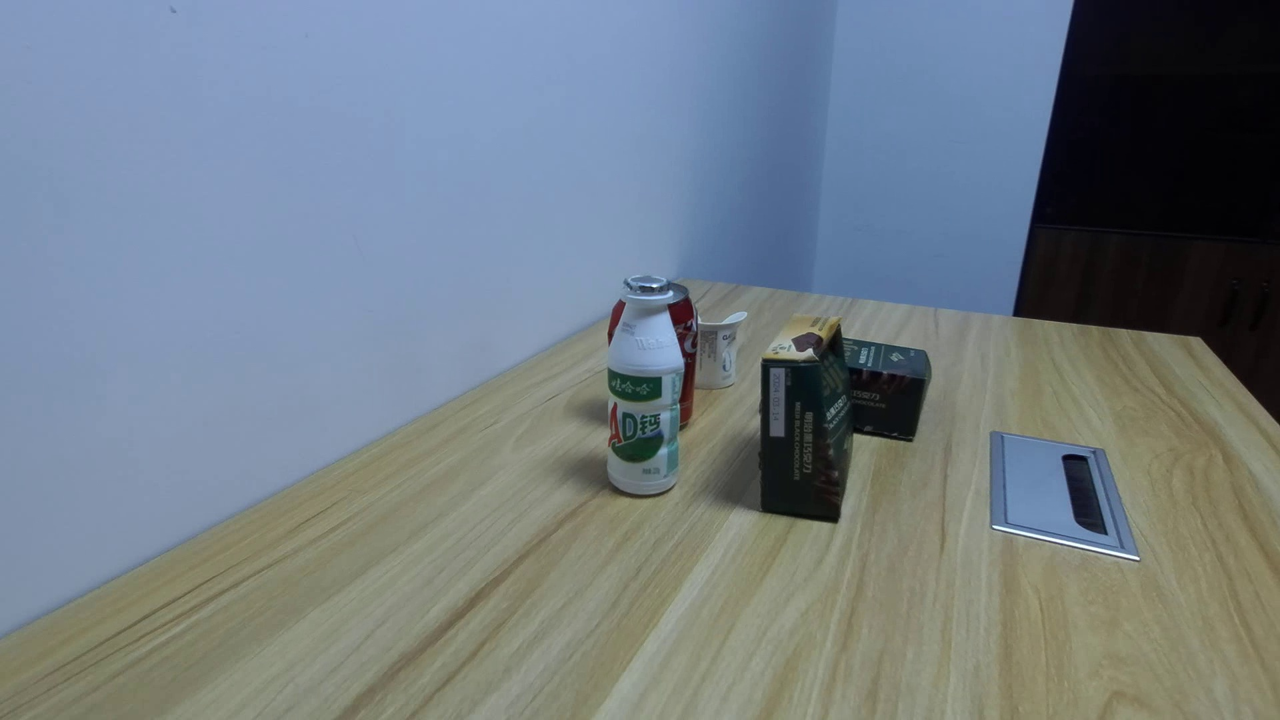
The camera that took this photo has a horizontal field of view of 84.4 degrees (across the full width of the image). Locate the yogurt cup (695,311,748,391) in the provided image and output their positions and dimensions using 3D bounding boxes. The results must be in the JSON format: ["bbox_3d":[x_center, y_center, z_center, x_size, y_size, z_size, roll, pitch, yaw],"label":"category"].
[{"bbox_3d":[0.066,-0.009,0.668,0.067,0.070,0.067,2,20,0],"label":"yogurt cup"}]

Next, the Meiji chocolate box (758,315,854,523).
[{"bbox_3d":[0.117,0.034,0.492,0.051,0.117,0.117,0,17,21],"label":"Meiji chocolate box"}]

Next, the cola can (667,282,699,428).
[{"bbox_3d":[0.014,-0.004,0.586,0.072,0.117,0.065,6,20,13],"label":"cola can"}]

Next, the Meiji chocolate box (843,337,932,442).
[{"bbox_3d":[0.192,0.019,0.623,0.122,0.058,0.116,9,18,18],"label":"Meiji chocolate box"}]

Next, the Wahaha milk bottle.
[{"bbox_3d":[0.004,0.017,0.479,0.056,0.147,0.056,0,19,0],"label":"Wahaha milk bottle"}]
